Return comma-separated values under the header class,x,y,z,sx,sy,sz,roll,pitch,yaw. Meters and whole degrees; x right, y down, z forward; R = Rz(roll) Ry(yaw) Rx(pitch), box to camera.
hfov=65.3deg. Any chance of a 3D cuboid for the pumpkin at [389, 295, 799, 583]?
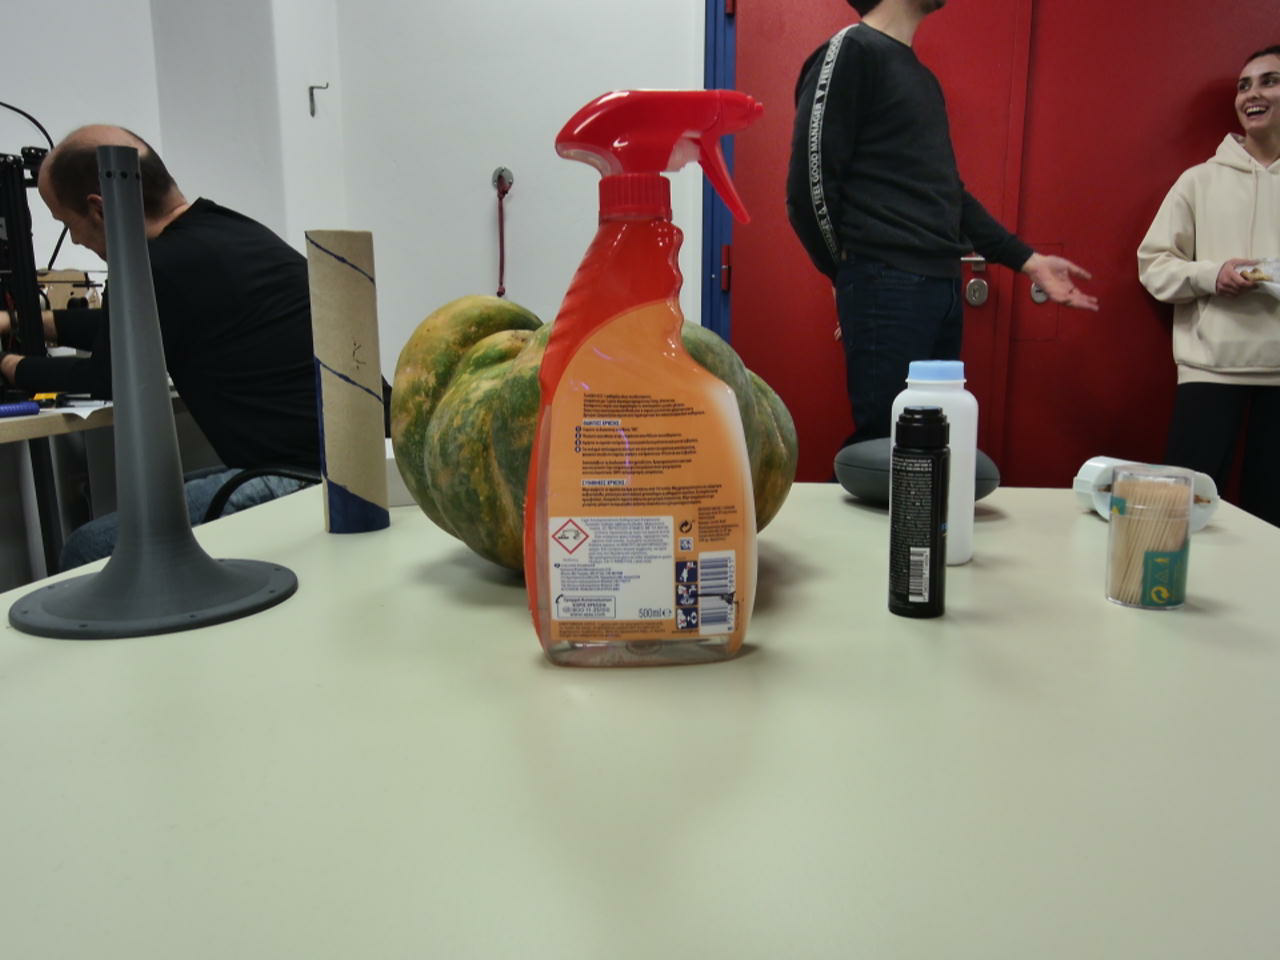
class,x,y,z,sx,sy,sz,roll,pitch,yaw
pumpkin,-0.030,-0.030,0.645,0.237,0.173,0.270,-7,10,-41
